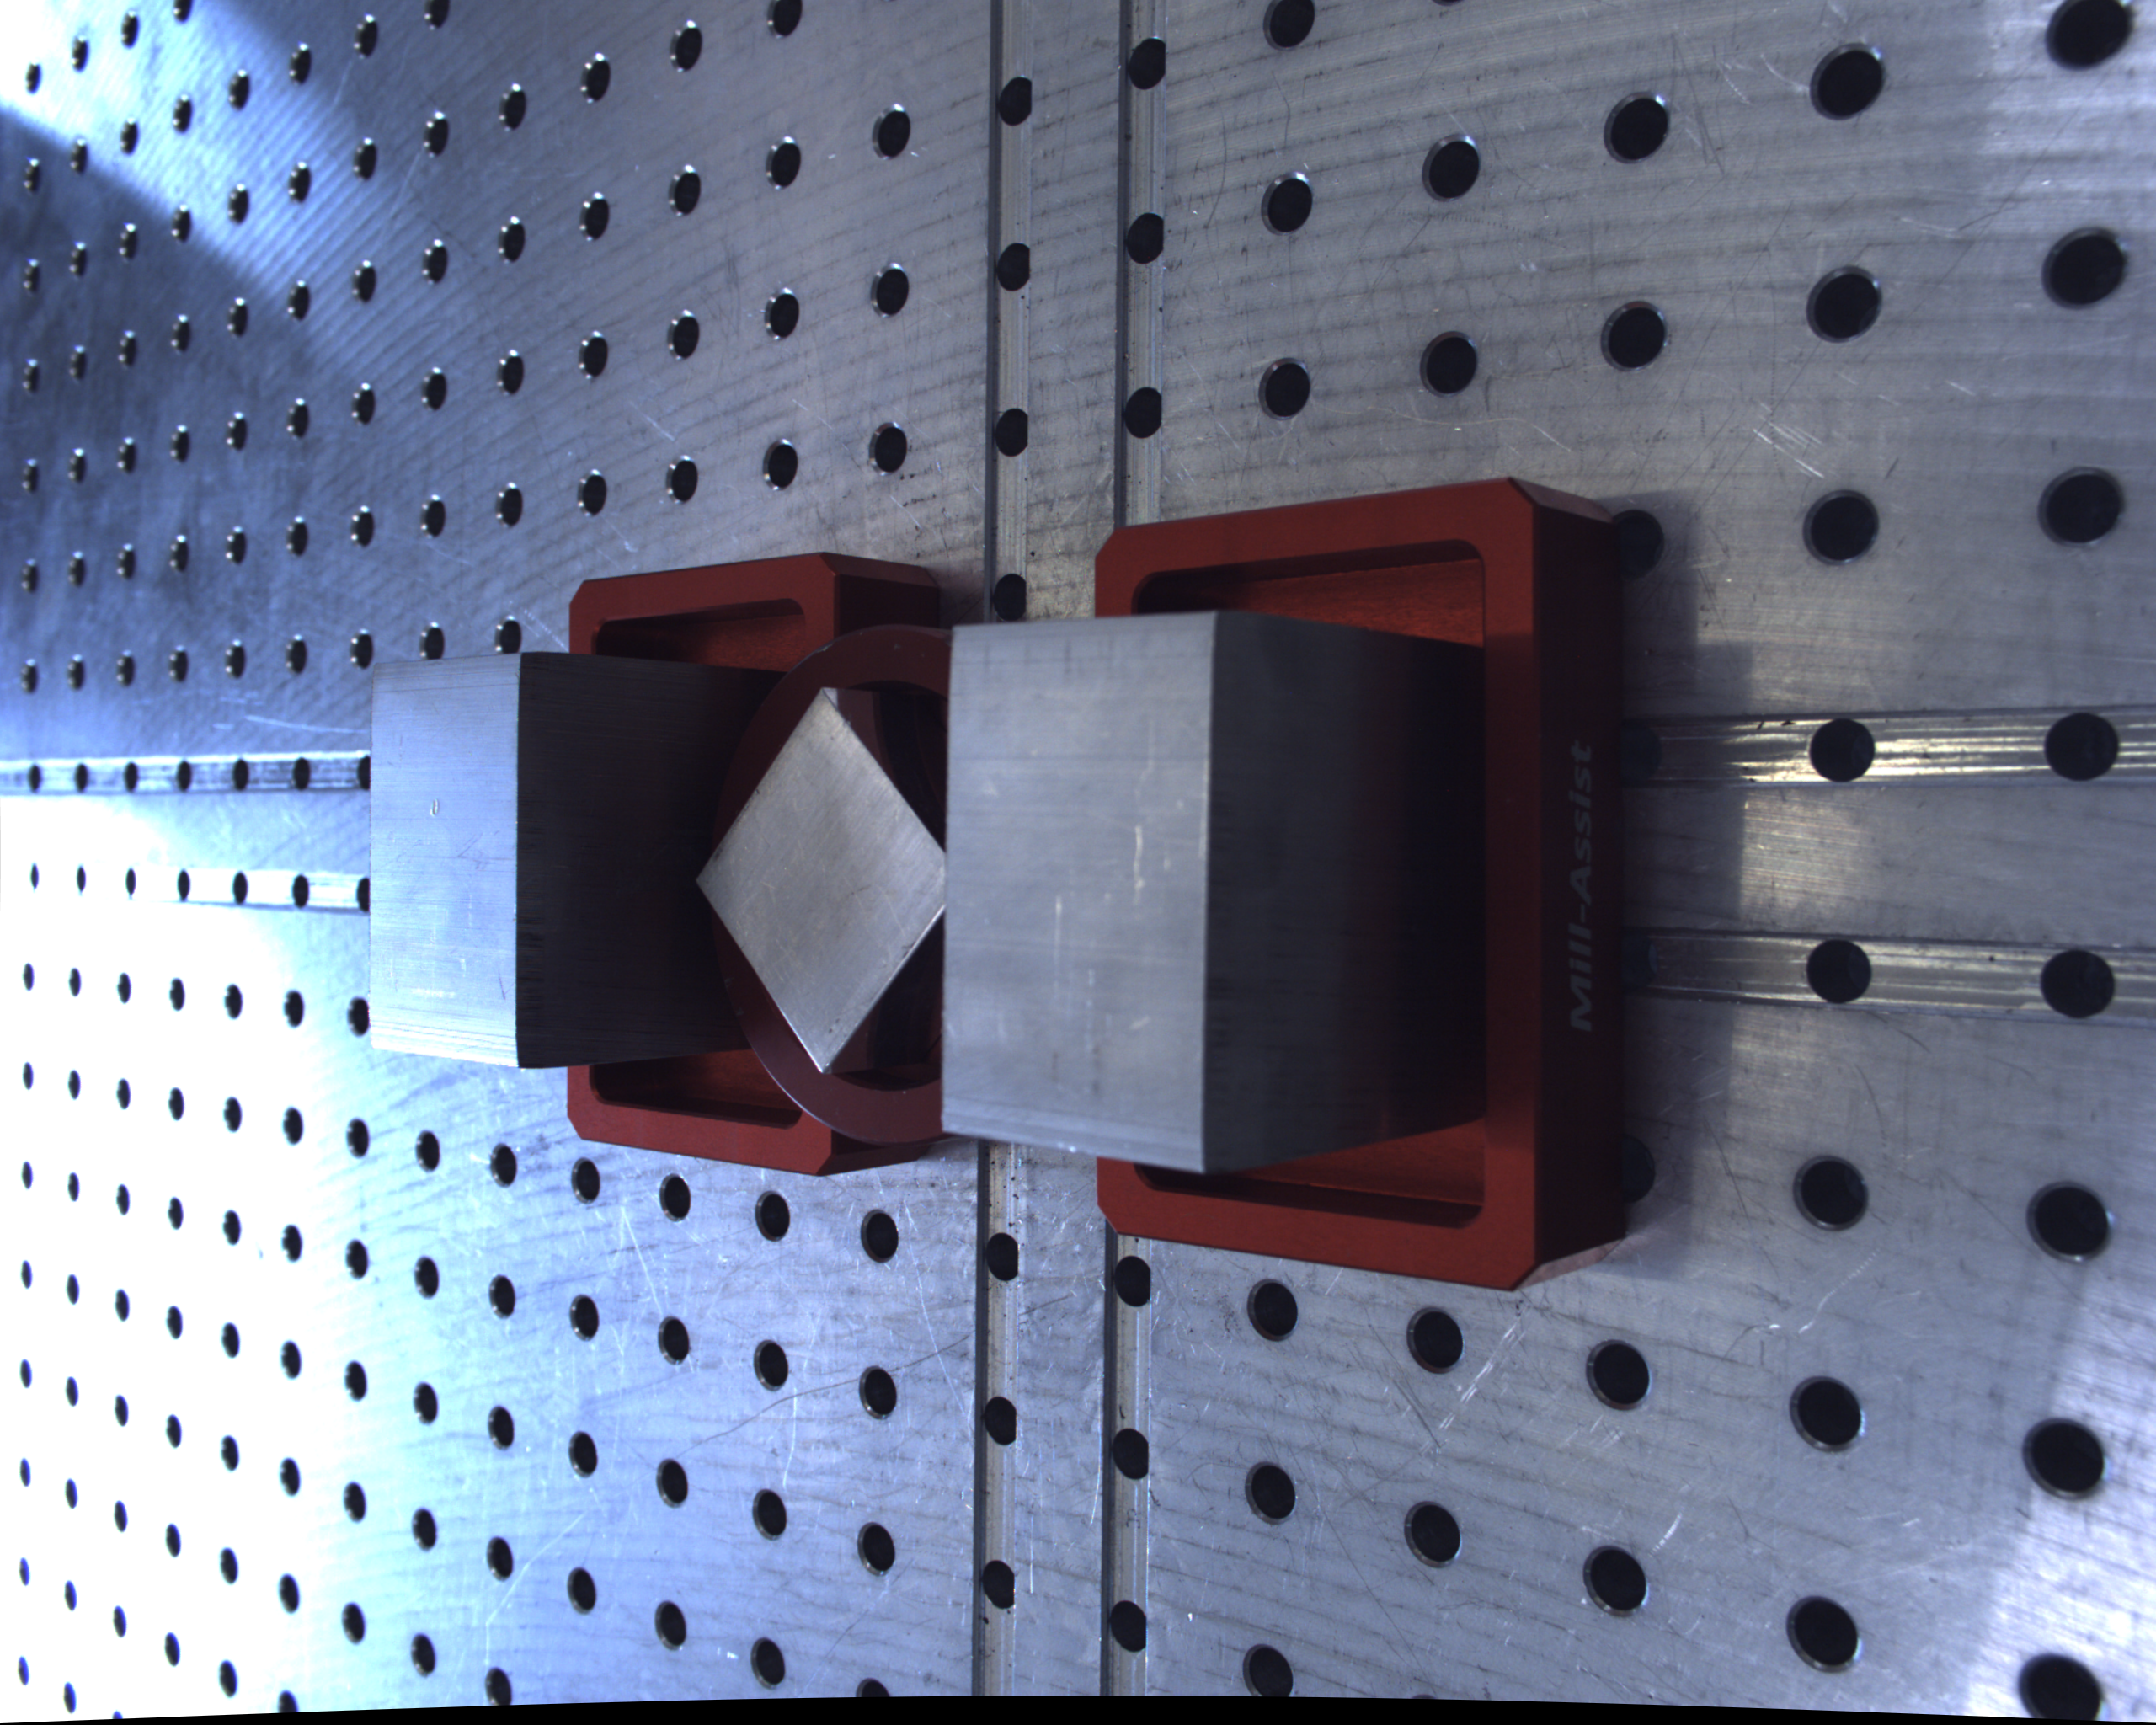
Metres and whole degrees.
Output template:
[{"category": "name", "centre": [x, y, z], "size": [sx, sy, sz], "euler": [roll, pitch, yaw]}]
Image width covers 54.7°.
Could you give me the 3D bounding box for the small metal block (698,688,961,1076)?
[{"category": "small metal block", "centre": [-0.038, 0.003, 0.388], "size": [0.050, 0.025, 0.050], "euler": [52, 120, 27]}]

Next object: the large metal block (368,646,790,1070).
[{"category": "large metal block", "centre": [-0.099, -0.001, 0.438], "size": [0.050, 0.081, 0.080], "euler": [1, 91, 40]}]

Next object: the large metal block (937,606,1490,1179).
[{"category": "large metal block", "centre": [0.024, 0.003, 0.336], "size": [0.050, 0.081, 0.079], "euler": [2, 91, 40]}]

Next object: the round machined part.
[{"category": "round machined part", "centre": [-0.023, 0.004, 0.406], "size": [0.098, 0.042, 0.097], "euler": [0, 90, 40]}]

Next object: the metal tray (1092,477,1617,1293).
[{"category": "metal tray", "centre": [0.046, 0.003, 0.367], "size": [0.090, 0.030, 0.129], "euler": [0, 90, 40]}]

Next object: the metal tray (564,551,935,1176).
[{"category": "metal tray", "centre": [-0.075, 0.000, 0.467], "size": [0.090, 0.030, 0.129], "euler": [1, 90, 40]}]
